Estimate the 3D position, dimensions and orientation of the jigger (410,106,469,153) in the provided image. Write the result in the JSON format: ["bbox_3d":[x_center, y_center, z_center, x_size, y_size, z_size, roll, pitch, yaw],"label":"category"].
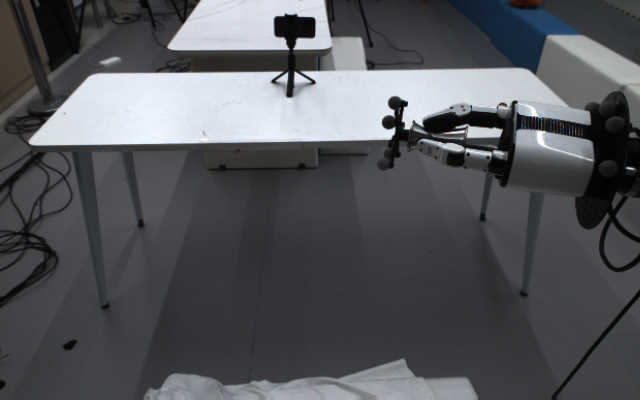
[{"bbox_3d":[0.150,-0.081,0.609,0.071,0.043,0.043,10,35,15],"label":"jigger"}]
